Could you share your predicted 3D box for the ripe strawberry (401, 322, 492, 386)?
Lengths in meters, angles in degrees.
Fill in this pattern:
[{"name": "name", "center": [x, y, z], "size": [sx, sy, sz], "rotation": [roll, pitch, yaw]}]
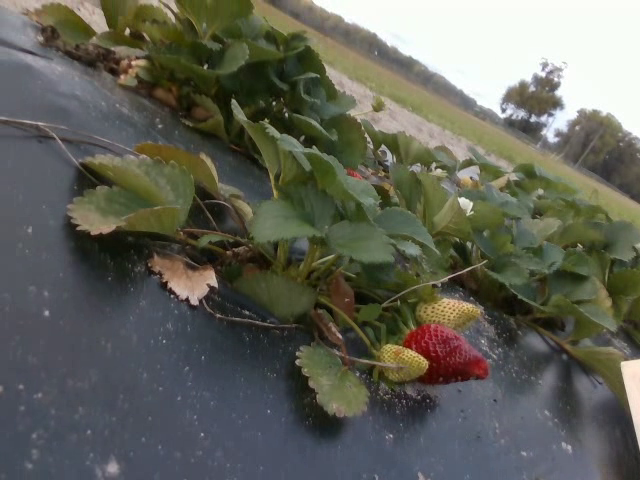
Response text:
[{"name": "ripe strawberry", "center": [0.078, 0.073, 0.360], "size": [0.046, 0.046, 0.059], "rotation": [-1, 7, -45]}]
